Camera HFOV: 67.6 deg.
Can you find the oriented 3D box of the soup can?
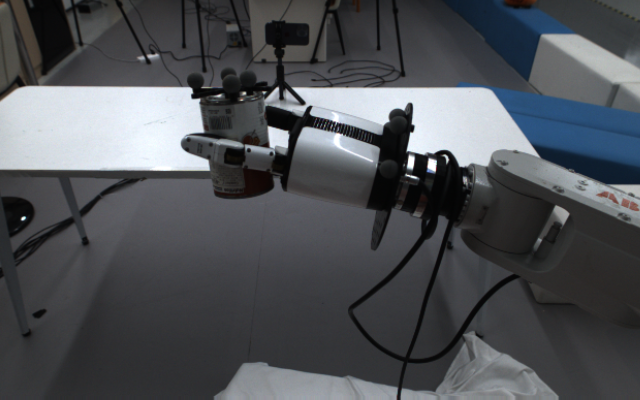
[{"bbox_3d":[-0.085,-0.059,0.512,0.067,0.101,0.067,-4,21,1],"label":"soup can"}]
